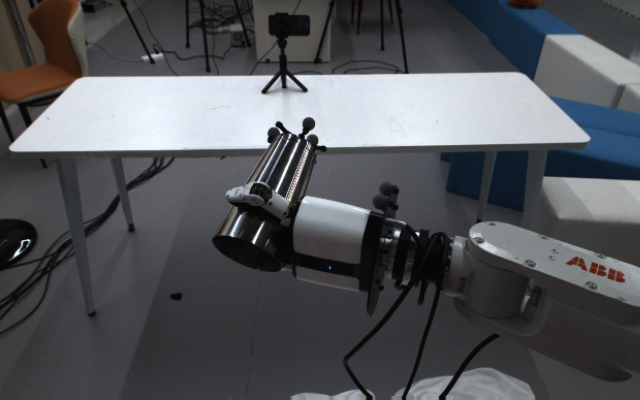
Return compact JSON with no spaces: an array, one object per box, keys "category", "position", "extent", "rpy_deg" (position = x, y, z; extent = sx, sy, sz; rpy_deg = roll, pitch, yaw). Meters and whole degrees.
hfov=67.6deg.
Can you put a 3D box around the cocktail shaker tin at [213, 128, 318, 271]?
[{"category":"cocktail shaker tin","position":[-0.064,-0.002,0.632],"extent":[0.093,0.093,0.170],"rpy_deg":[14,60,16]}]
